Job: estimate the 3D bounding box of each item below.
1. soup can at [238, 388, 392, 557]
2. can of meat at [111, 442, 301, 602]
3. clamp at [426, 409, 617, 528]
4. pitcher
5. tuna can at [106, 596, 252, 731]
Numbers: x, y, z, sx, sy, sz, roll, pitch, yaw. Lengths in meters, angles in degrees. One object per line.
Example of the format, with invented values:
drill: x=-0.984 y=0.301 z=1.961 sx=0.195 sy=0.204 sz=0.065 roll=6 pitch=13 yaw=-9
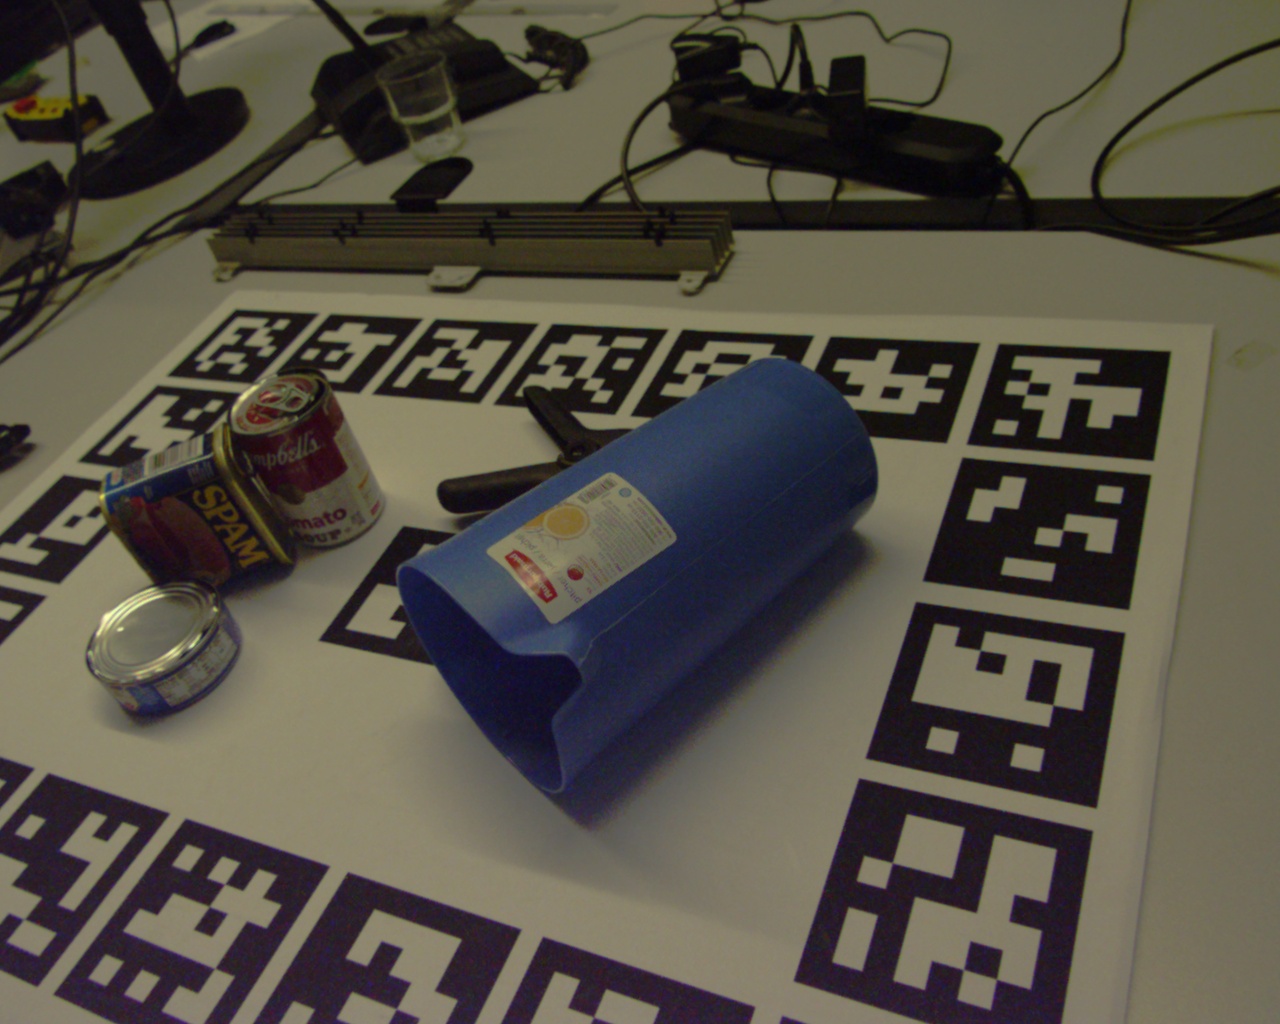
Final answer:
soup can: x=-0.224 y=-0.026 z=0.797 sx=0.068 sy=0.101 sz=0.068 roll=-13 pitch=42 yaw=11
can of meat: x=-0.293 y=0.014 z=0.774 sx=0.084 sy=0.101 sz=0.058 roll=-22 pitch=42 yaw=2
clamp: x=-0.052 y=-0.022 z=0.790 sx=0.167 sy=0.036 sz=0.121 roll=10 pitch=45 yaw=25
pitcher: x=-0.005 y=0.024 z=0.632 sx=0.240 sy=0.132 sz=0.191 roll=-35 pitch=22 yaw=-27
tuna can: x=-0.297 y=0.098 z=0.740 sx=0.086 sy=0.033 sz=0.086 roll=-11 pitch=44 yaw=10
